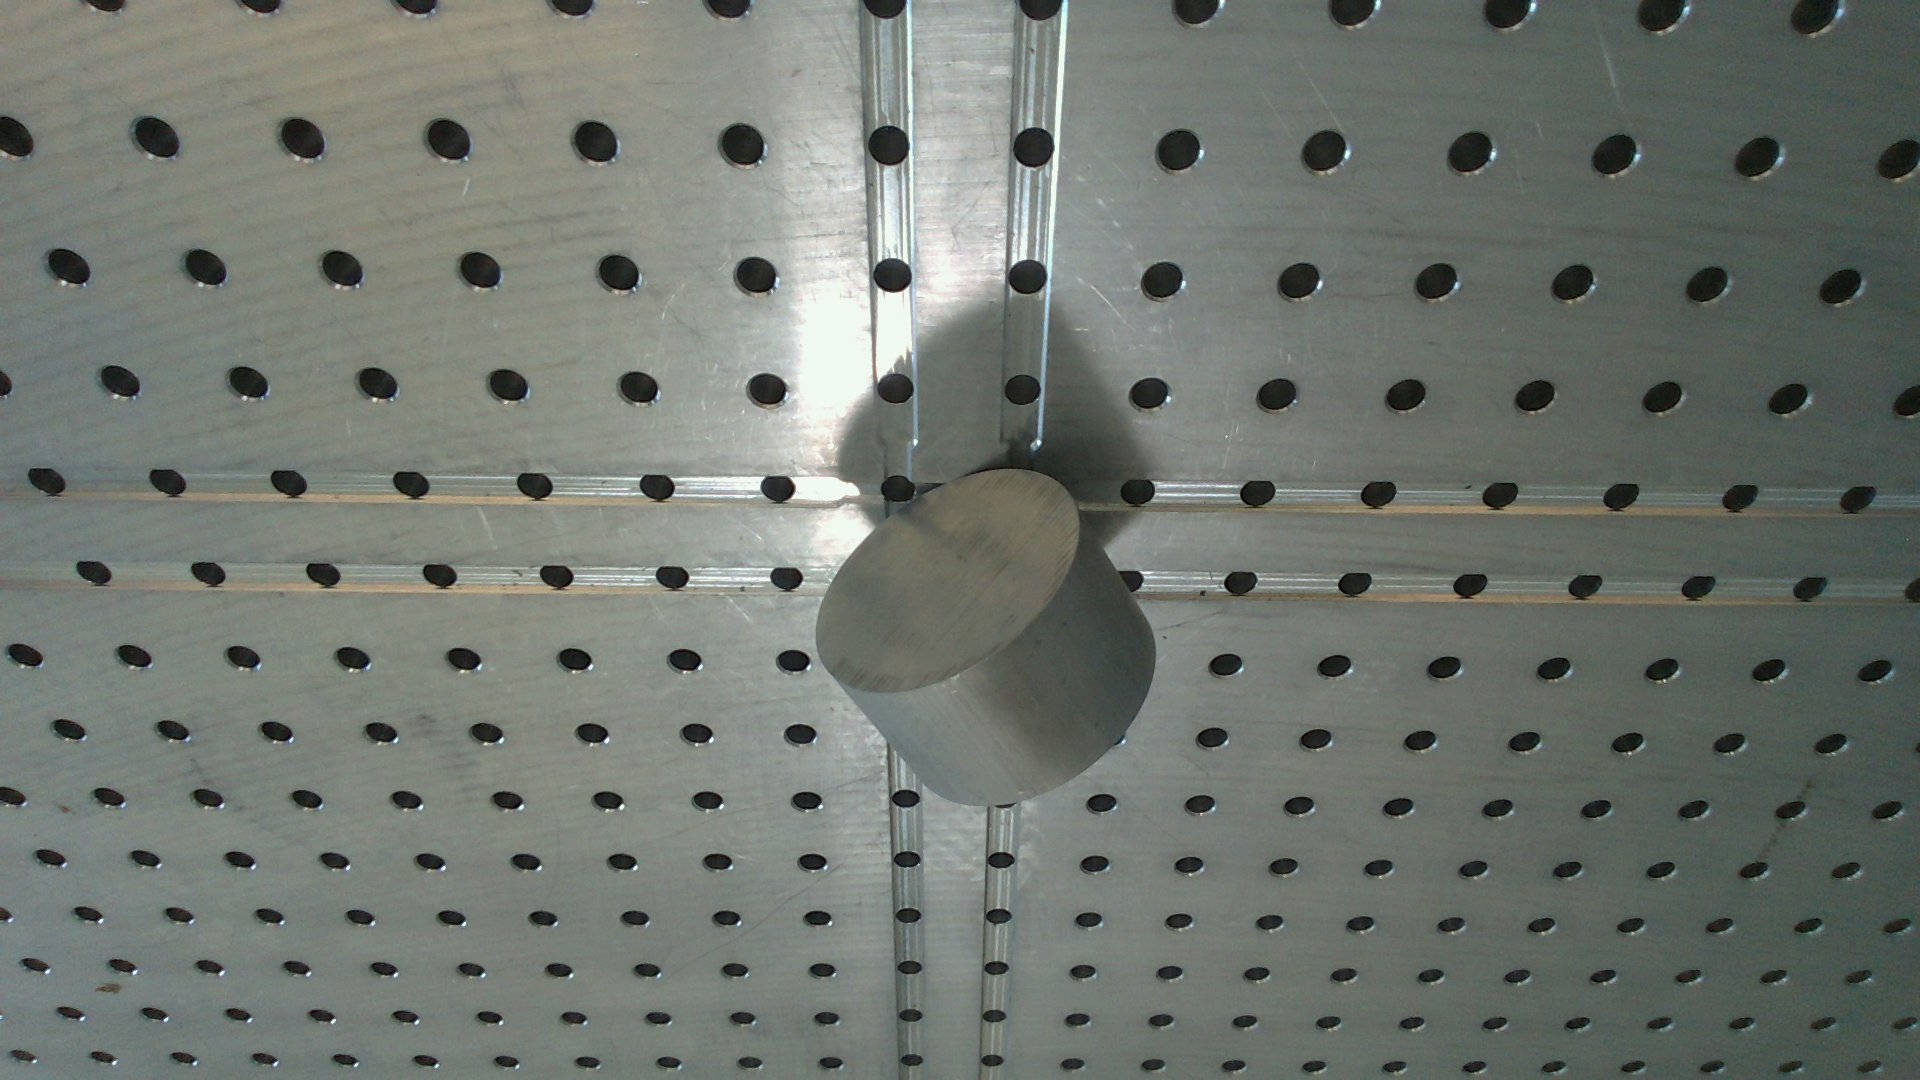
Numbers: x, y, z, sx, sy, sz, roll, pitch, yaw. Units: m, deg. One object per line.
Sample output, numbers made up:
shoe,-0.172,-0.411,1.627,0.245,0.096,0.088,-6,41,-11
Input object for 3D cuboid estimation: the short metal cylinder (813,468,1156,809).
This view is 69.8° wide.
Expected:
short metal cylinder,0.007,0.026,0.379,0.080,0.080,0.050,-22,126,18
